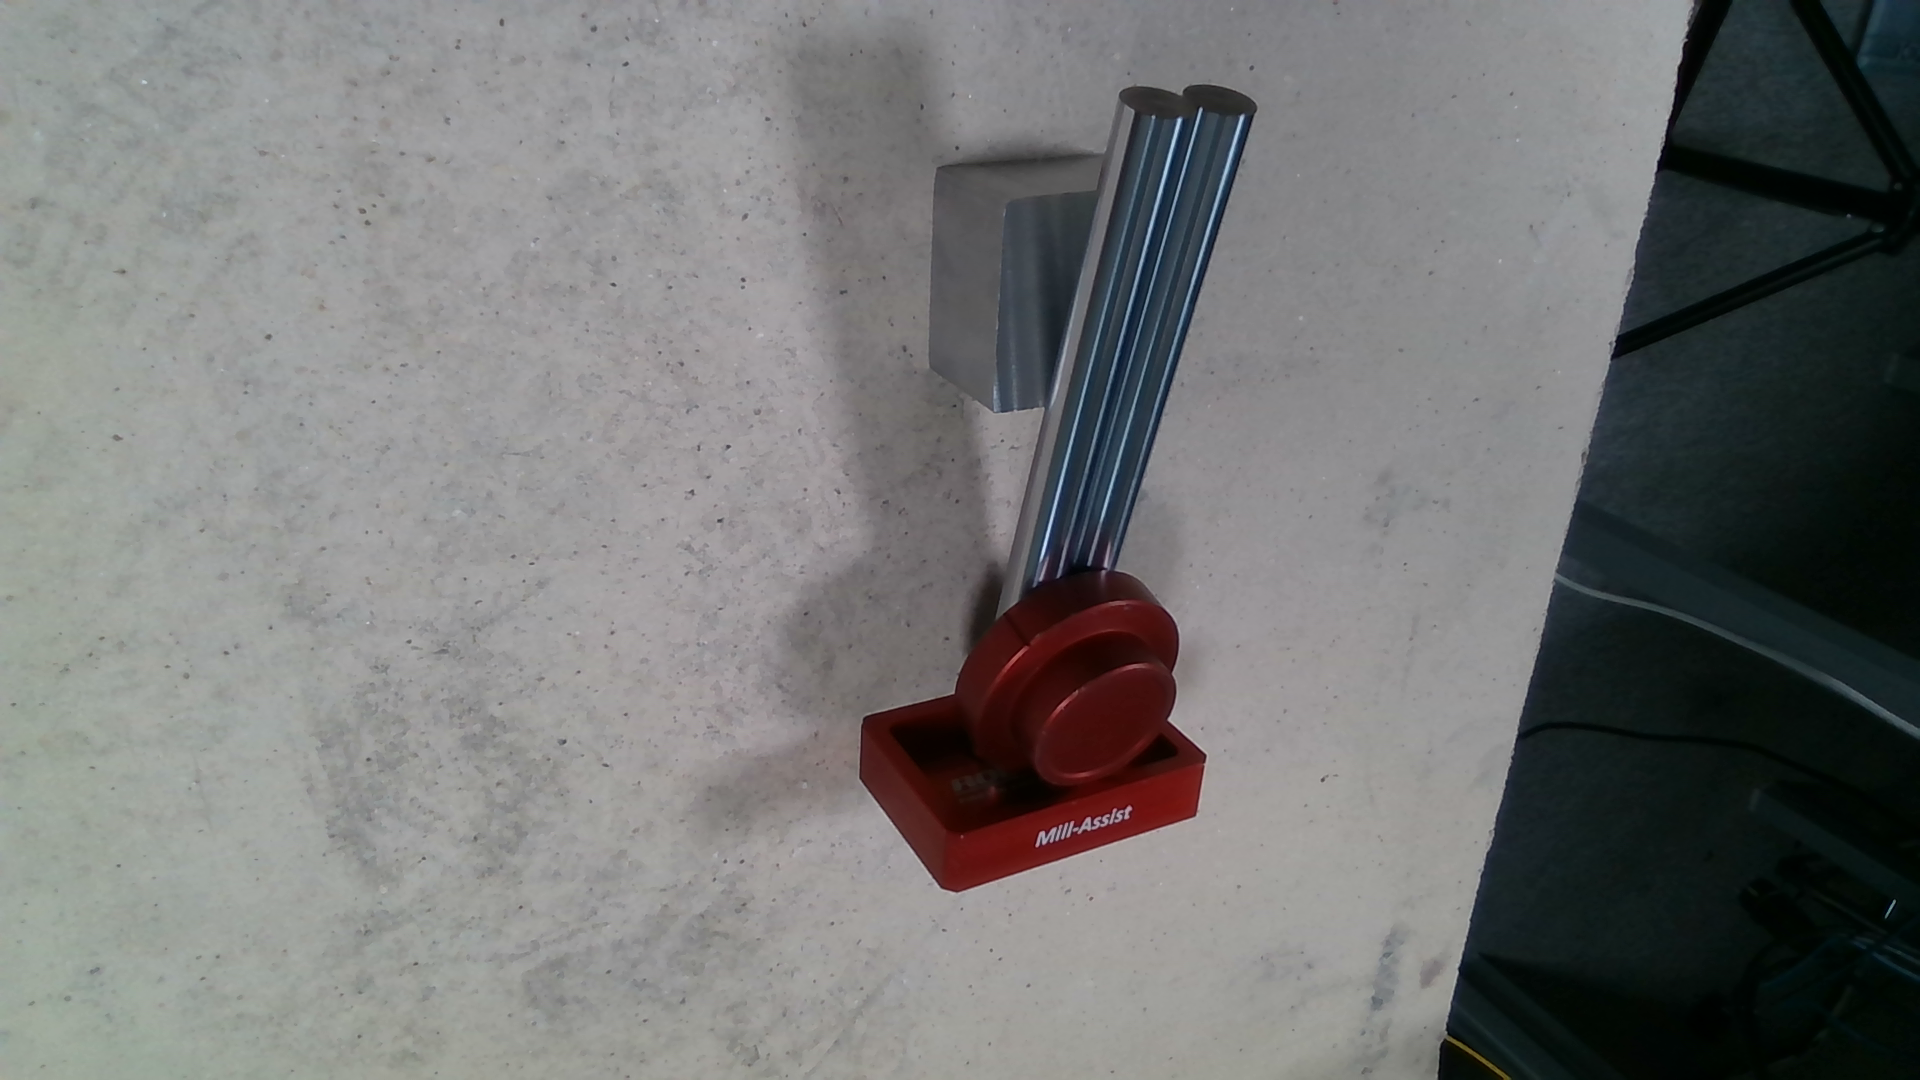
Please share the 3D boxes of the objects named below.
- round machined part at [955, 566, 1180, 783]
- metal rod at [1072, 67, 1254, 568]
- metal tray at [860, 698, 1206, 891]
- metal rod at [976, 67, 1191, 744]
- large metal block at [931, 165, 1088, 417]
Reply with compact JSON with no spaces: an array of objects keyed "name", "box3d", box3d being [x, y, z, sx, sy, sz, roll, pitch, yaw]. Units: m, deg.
[{"name":"round machined part","box3d":[0.050,0.062,0.572,0.098,0.042,0.098,-17,133,-19]},{"name":"metal rod","box3d":[0.063,-0.034,0.543,0.025,0.025,0.301,-12,133,-26]},{"name":"metal tray","box3d":[0.031,0.100,0.612,0.130,0.090,0.030,-11,120,-27]},{"name":"metal rod","box3d":[0.039,-0.030,0.531,0.025,0.025,0.301,-12,133,-26]},{"name":"large metal block","box3d":[0.037,-0.099,0.529,0.080,0.050,0.080,-11,120,-26]}]
